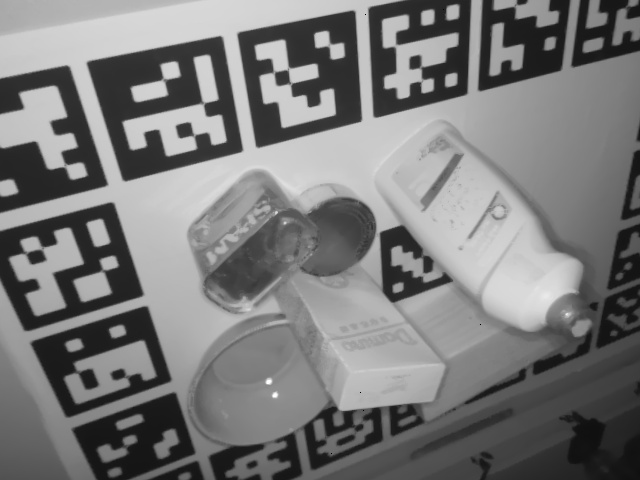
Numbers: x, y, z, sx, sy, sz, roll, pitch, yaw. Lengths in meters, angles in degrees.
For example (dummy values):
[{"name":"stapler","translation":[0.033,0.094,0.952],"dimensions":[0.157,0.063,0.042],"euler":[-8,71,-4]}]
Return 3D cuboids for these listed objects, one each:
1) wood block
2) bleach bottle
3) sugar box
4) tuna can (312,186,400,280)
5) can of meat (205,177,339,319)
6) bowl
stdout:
[{"name":"wood block","translation":[0.204,0.118,0.780],"dimensions":[0.208,0.089,0.090],"euler":[-24,121,-10]},{"name":"bleach bottle","translation":[0.157,-0.006,0.587],"dimensions":[0.103,0.250,0.068],"euler":[-38,127,0]},{"name":"sugar box","translation":[0.041,0.084,0.625],"dimensions":[0.094,0.175,0.045],"euler":[2,115,-29]},{"name":"tuna can","translation":[0.030,-0.007,0.656],"dimensions":[0.087,0.033,0.085],"euler":[-11,118,-19]},{"name":"can of meat","translation":[-0.046,0.004,0.604],"dimensions":[0.101,0.083,0.058],"euler":[-41,129,4]},{"name":"bowl","translation":[-0.047,0.145,0.697],"dimensions":[0.164,0.055,0.160],"euler":[-14,122,-22]}]
